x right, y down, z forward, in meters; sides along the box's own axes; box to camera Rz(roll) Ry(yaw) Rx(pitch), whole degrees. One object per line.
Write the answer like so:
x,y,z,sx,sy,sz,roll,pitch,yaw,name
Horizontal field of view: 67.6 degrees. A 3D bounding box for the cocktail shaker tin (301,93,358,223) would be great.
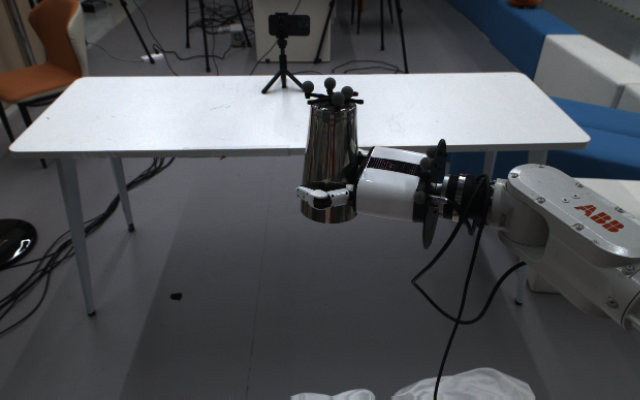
0.018,-0.062,0.723,0.093,0.170,0.093,1,28,-1,cocktail shaker tin
